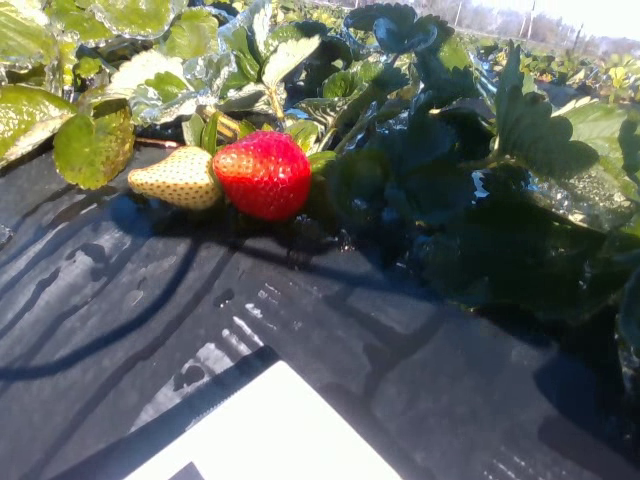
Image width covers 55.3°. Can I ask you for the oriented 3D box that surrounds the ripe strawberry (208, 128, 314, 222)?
[{"bbox_3d":[-0.032,-0.028,0.275,0.042,0.046,0.061,19,9,35],"label":"ripe strawberry"}]
